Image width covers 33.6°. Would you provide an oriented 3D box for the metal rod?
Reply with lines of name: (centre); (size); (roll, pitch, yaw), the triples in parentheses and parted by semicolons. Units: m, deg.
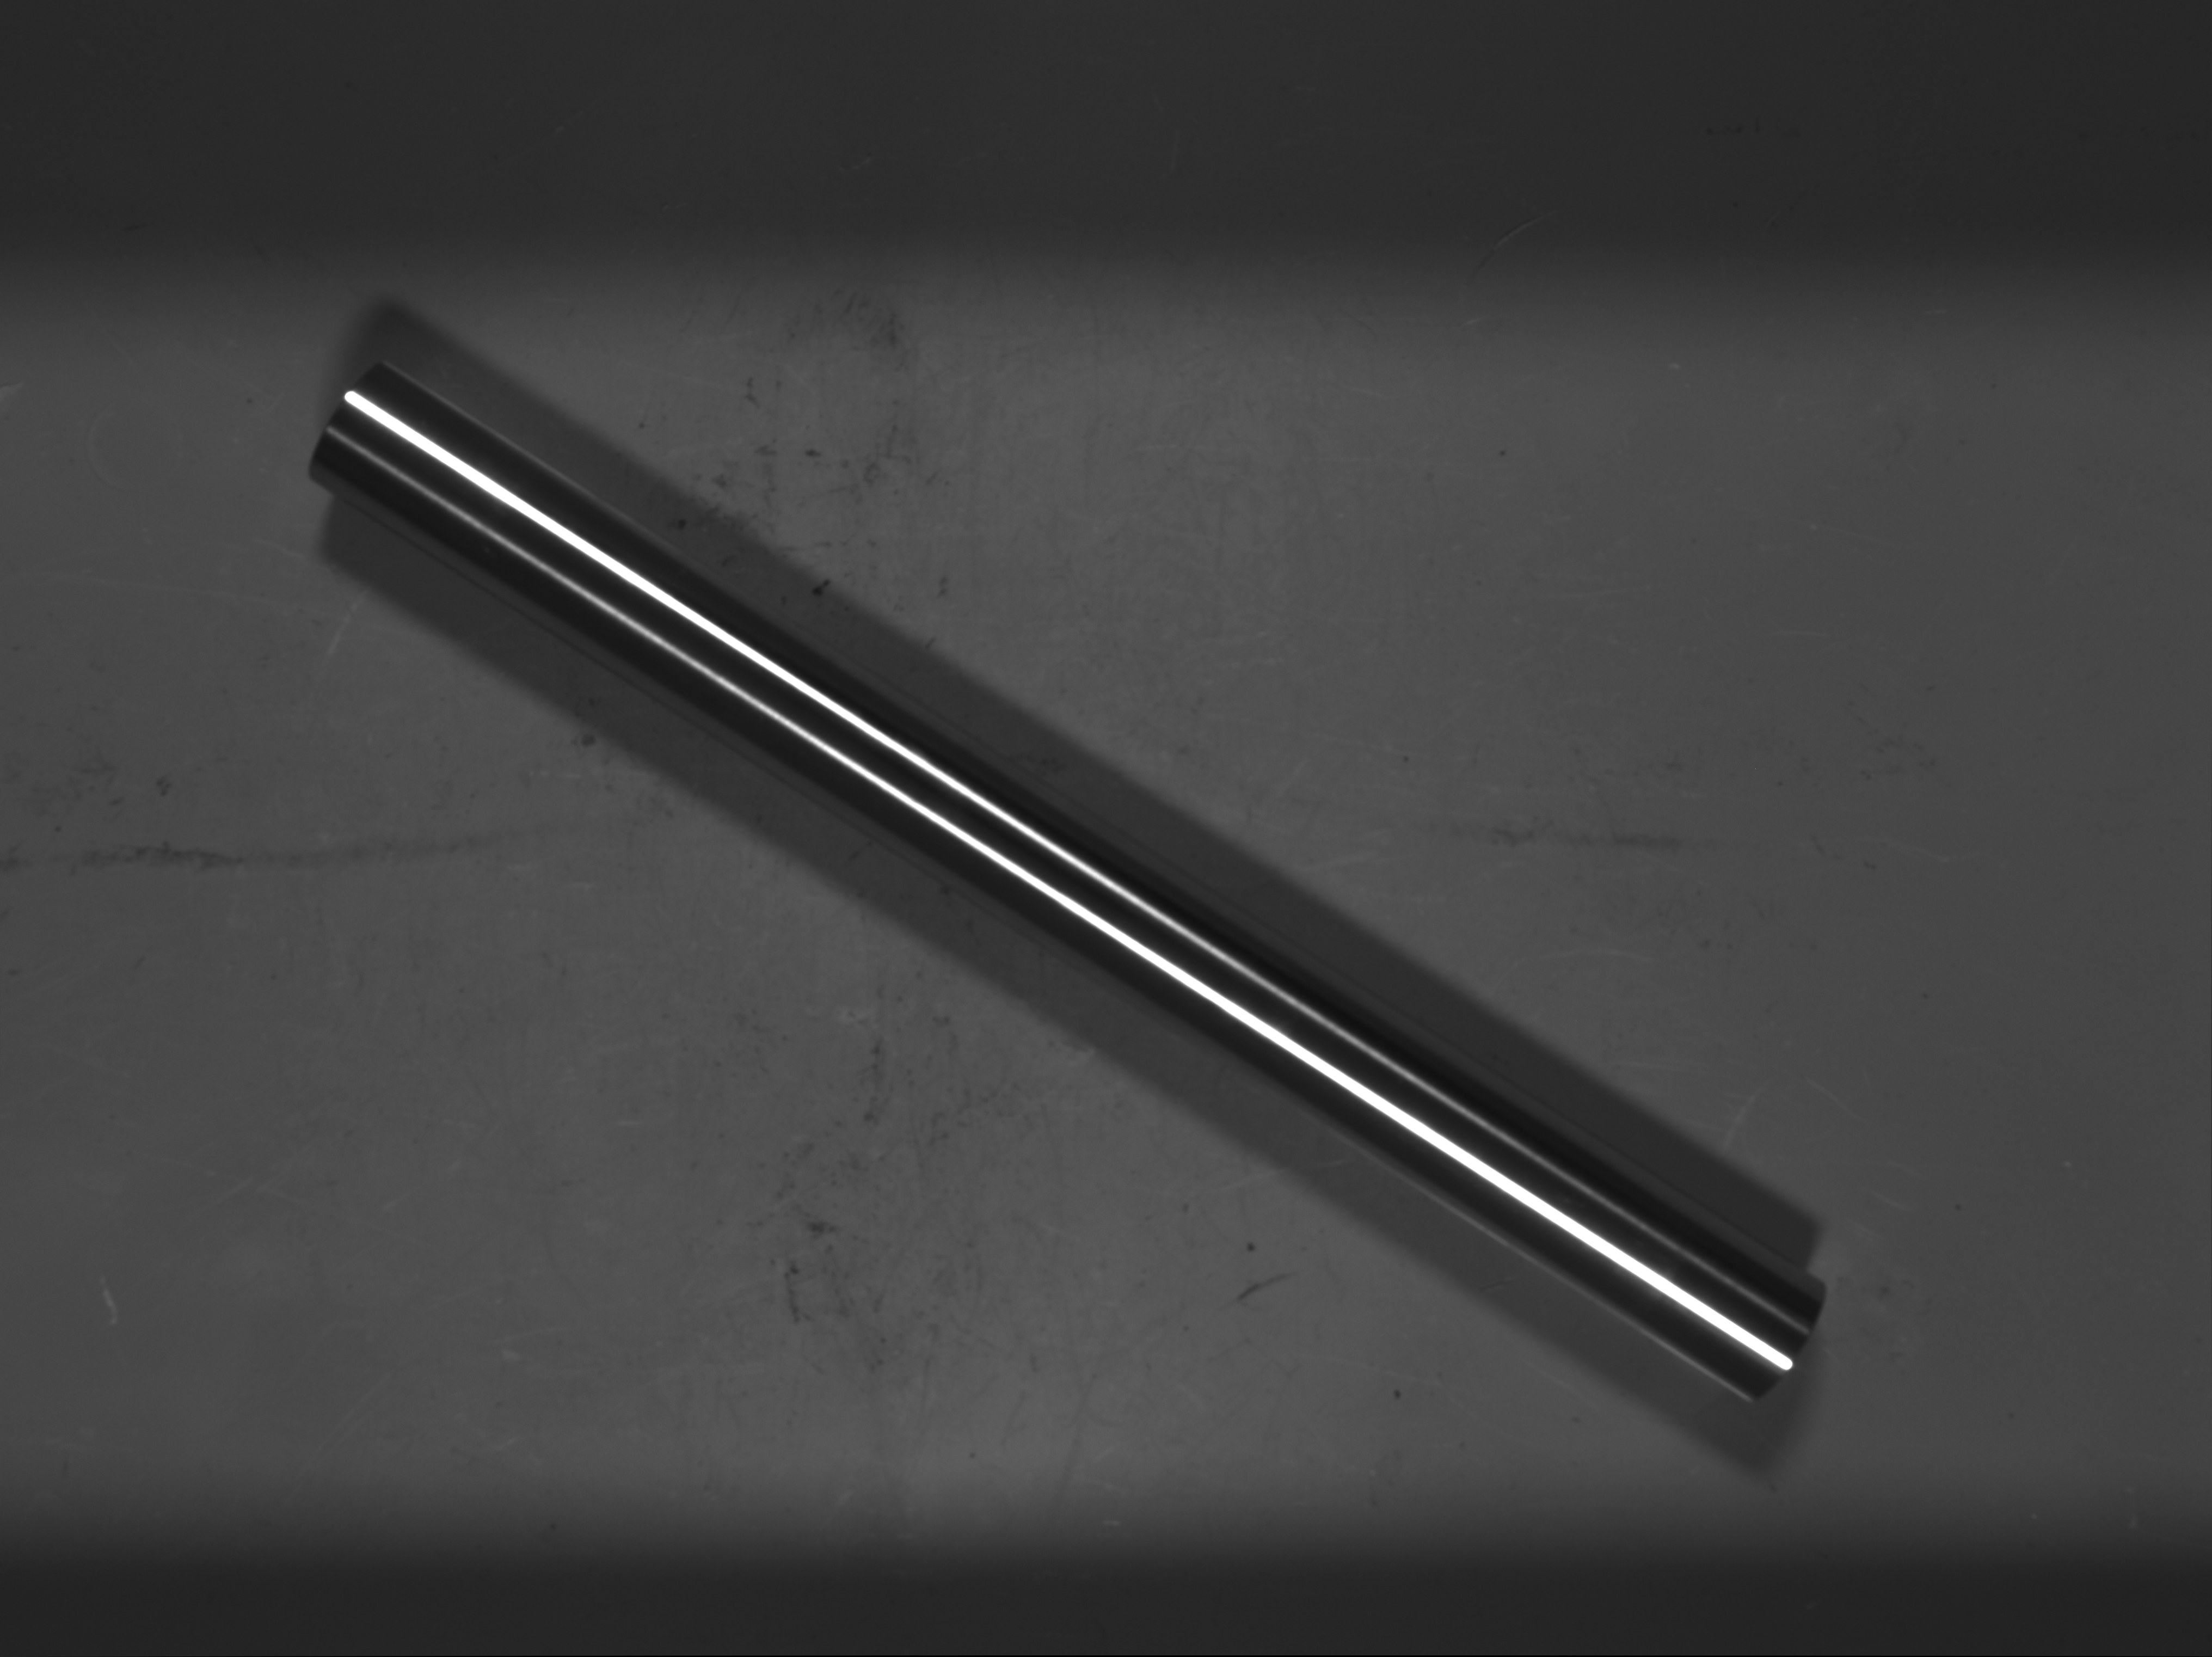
metal rod: (-0.005, 0.010, 0.643); (0.300, 0.025, 0.025); (33, 90, 0)
